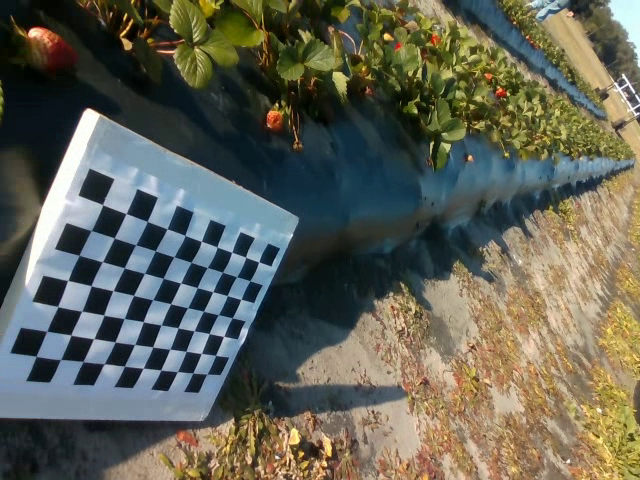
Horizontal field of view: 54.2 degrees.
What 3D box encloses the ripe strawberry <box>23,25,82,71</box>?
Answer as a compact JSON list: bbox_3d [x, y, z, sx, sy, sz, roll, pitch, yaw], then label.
[{"bbox_3d":[-0.249,-0.172,0.591,0.043,0.045,0.063,25,17,33],"label":"ripe strawberry"}]
